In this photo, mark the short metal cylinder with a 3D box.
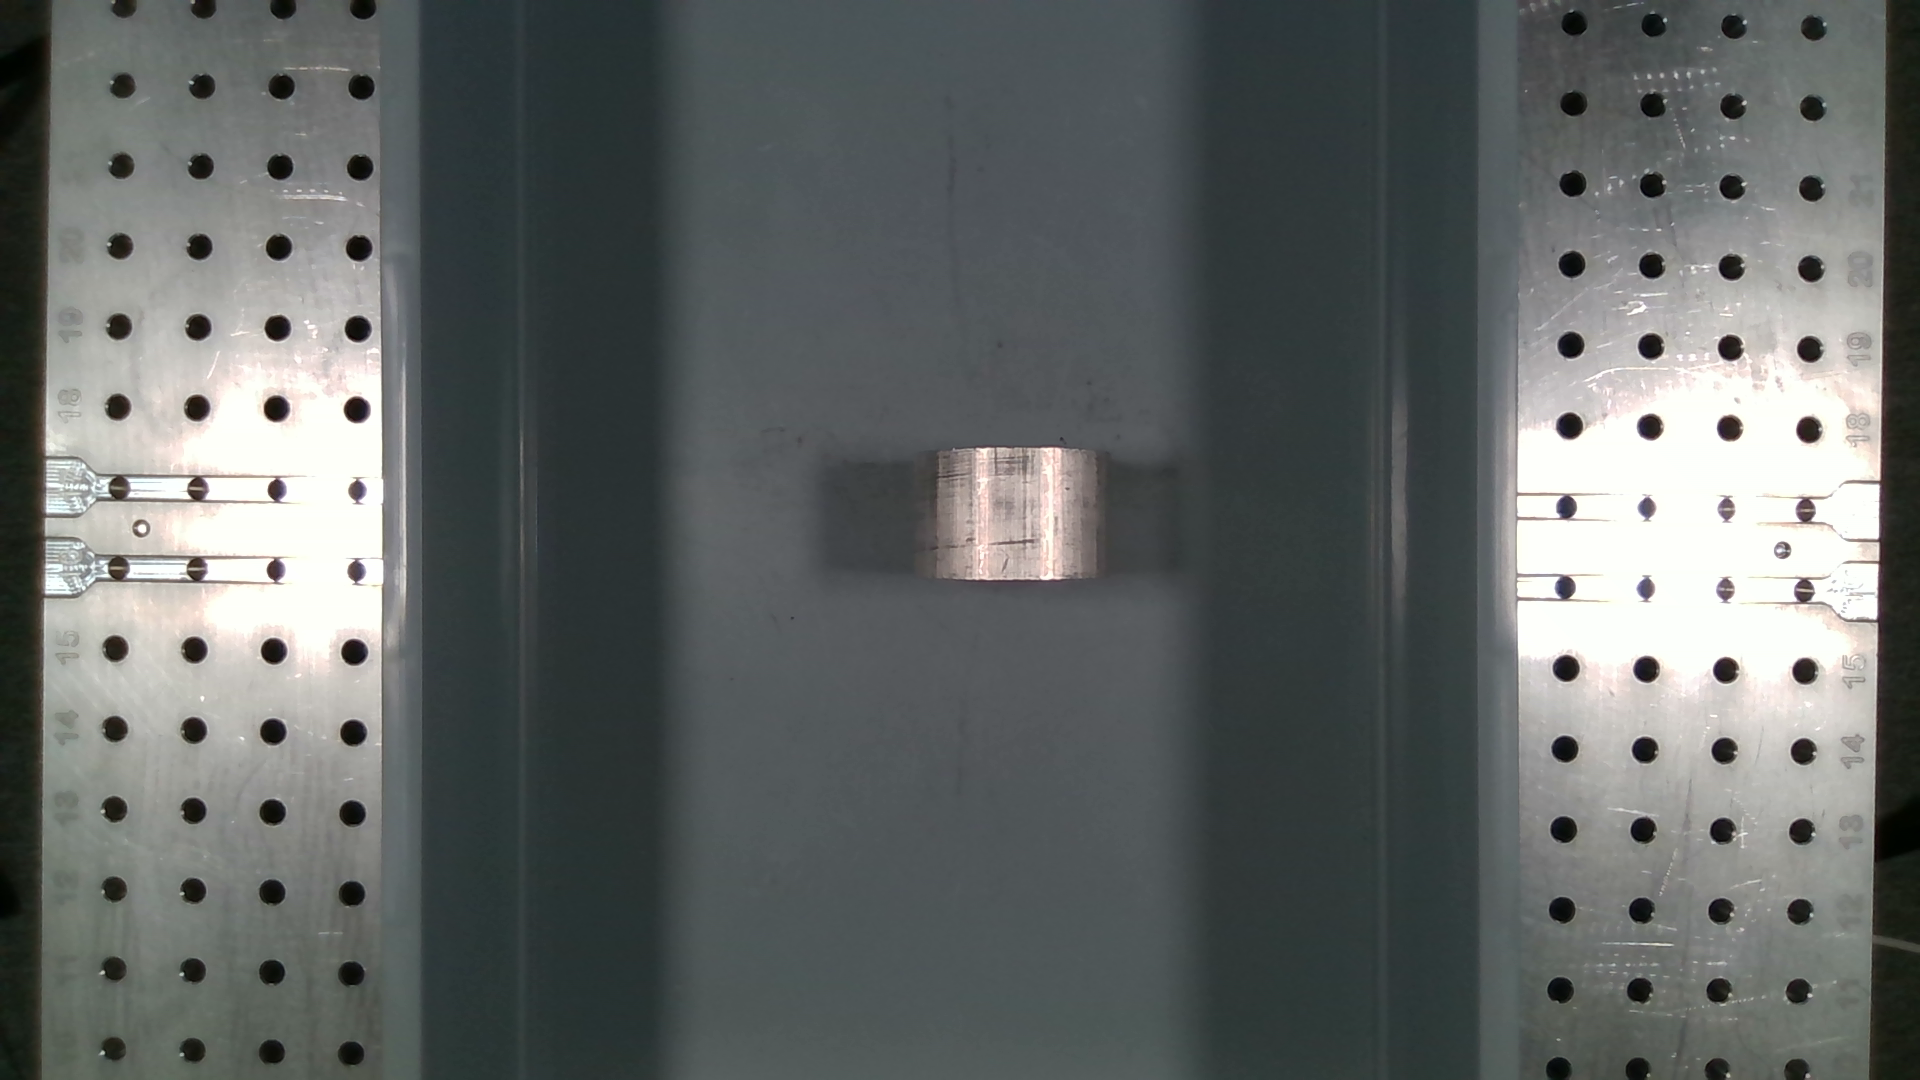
[{"bbox_3d":[0.021,-0.010,0.558,0.080,0.080,0.050,0,90,0],"label":"short metal cylinder"}]
